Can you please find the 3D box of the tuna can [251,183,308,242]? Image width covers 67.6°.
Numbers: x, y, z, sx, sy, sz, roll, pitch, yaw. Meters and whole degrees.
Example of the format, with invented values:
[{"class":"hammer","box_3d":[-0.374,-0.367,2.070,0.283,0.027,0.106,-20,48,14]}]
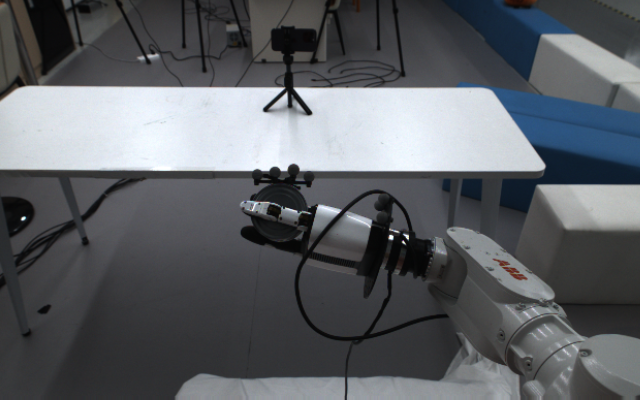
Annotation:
[{"class":"tuna can","box_3d":[-0.060,0.020,0.727,0.085,0.034,0.085,-1,77,4]}]
